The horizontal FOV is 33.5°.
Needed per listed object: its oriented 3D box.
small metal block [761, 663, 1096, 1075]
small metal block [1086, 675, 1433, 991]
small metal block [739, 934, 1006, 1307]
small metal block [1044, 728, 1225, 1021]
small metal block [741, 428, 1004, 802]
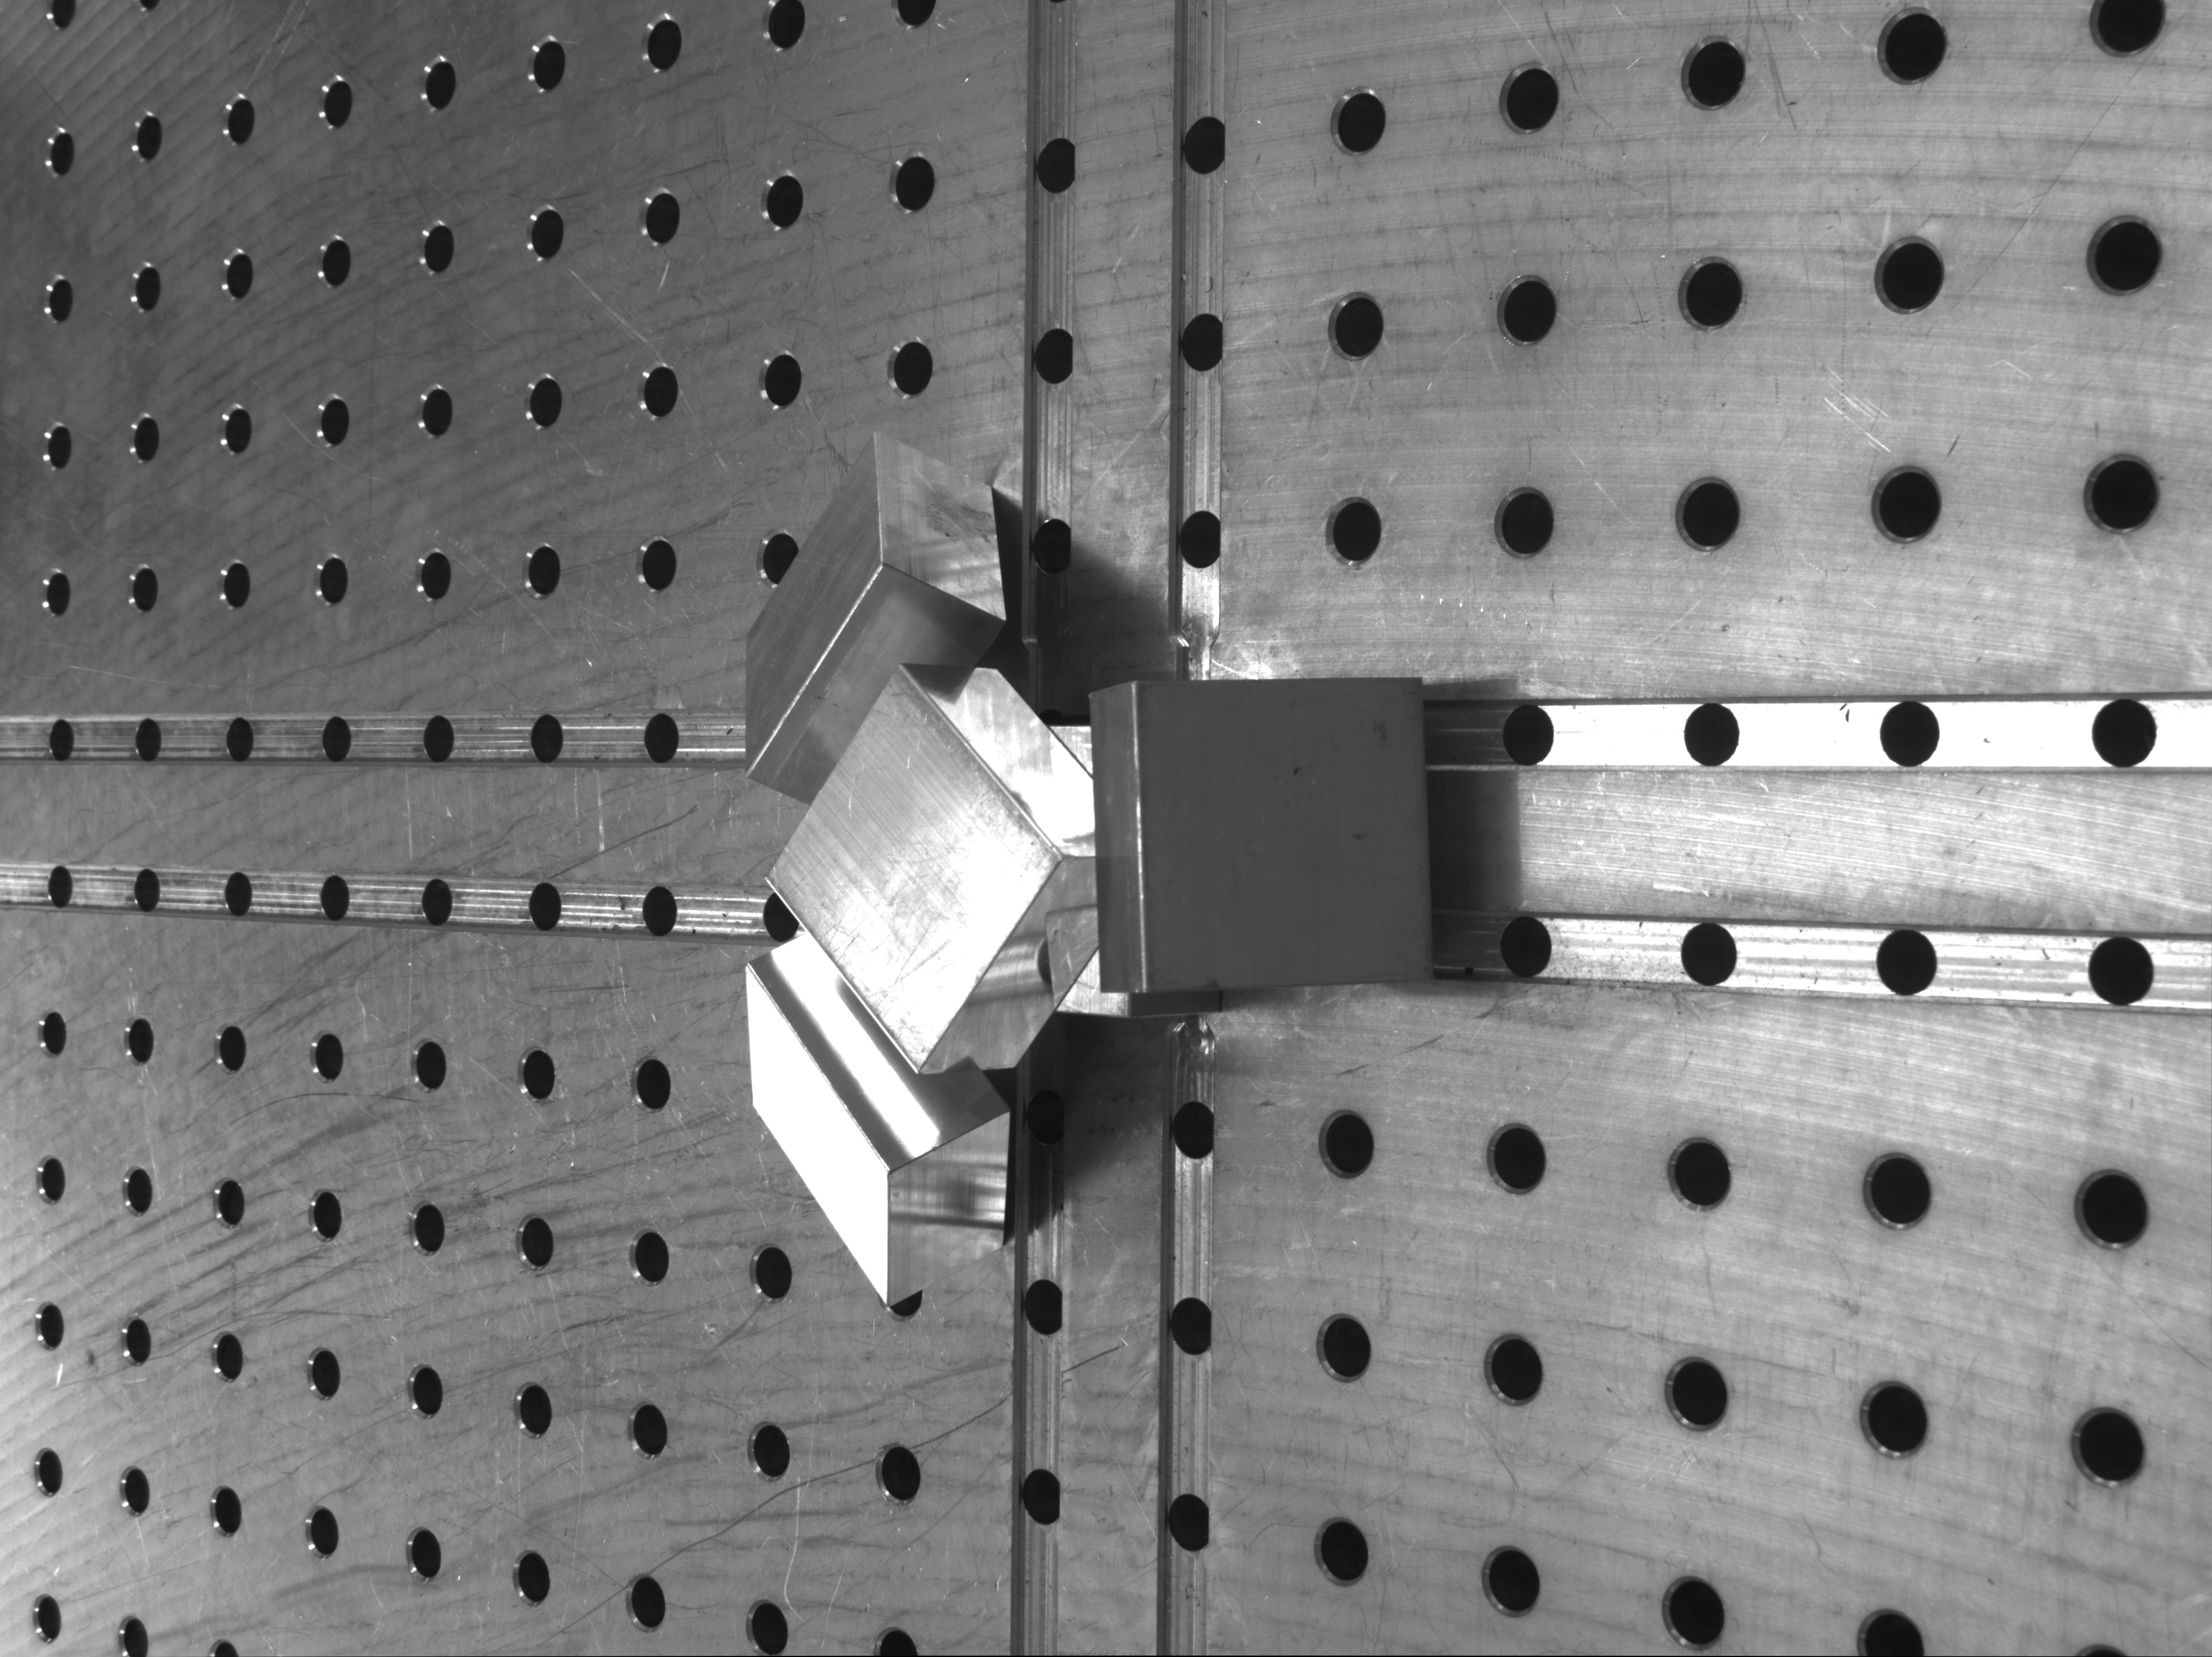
[{"bbox_3d":[-0.026,0.007,0.638,0.050,0.025,0.050,49,118,29],"label":"small metal block"},{"bbox_3d":[0.025,0.001,0.608,0.025,0.050,0.050,172,97,-73],"label":"small metal block"},{"bbox_3d":[-0.042,0.051,0.668,0.050,0.025,0.050,53,158,28],"label":"small metal block"},{"bbox_3d":[-0.006,0.007,0.654,0.050,0.025,0.050,2,94,40],"label":"small metal block"},{"bbox_3d":[-0.043,-0.036,0.669,0.050,0.025,0.050,-54,22,26],"label":"small metal block"}]
